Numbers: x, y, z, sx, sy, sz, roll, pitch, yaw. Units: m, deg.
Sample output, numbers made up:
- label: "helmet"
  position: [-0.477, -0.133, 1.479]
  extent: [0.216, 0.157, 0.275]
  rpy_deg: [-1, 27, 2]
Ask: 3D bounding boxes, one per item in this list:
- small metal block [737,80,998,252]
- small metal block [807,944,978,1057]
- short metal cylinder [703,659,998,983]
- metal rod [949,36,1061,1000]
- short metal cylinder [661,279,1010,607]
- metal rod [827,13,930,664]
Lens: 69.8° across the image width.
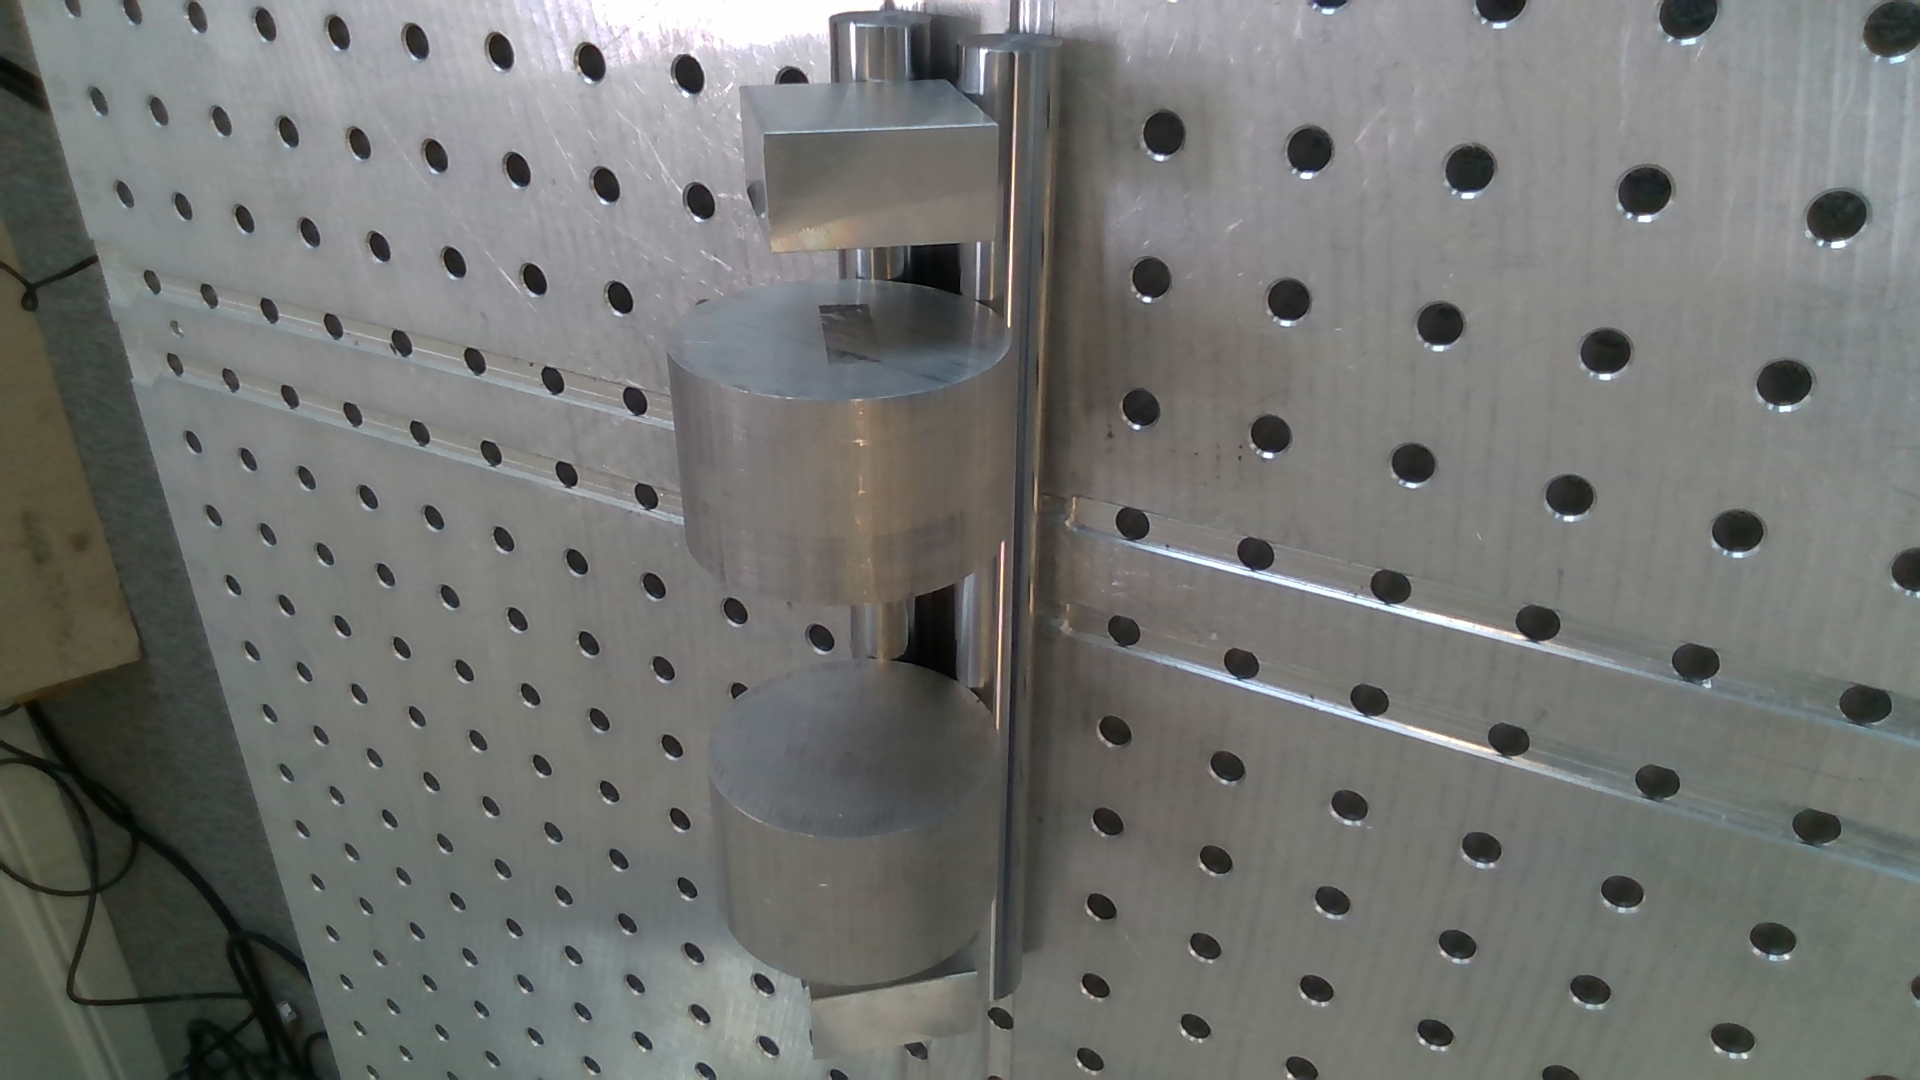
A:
- label: "small metal block"
  position: [-0.022, -0.086, 0.313]
  extent: [0.050, 0.050, 0.025]
  rpy_deg: [-6, 119, -12]
- label: "small metal block"
  position: [-0.025, 0.130, 0.433]
  extent: [0.050, 0.050, 0.025]
  rpy_deg: [-6, 119, -11]
- label: "short metal cylinder"
  position: [-0.030, 0.077, 0.389]
  extent: [0.080, 0.080, 0.050]
  rpy_deg: [15, 122, 24]
- label: "metal rod"
  position: [0.010, 0.015, 0.395]
  extent: [0.025, 0.025, 0.301]
  rpy_deg: [15, 122, 24]
- label: "short metal cylinder"
  position: [-0.029, -0.026, 0.331]
  extent: [0.080, 0.080, 0.050]
  rpy_deg: [15, 122, 24]
- label: "metal rod"
  position: [-0.021, 0.005, 0.408]
  extent: [0.025, 0.025, 0.301]
  rpy_deg: [15, 122, 24]
